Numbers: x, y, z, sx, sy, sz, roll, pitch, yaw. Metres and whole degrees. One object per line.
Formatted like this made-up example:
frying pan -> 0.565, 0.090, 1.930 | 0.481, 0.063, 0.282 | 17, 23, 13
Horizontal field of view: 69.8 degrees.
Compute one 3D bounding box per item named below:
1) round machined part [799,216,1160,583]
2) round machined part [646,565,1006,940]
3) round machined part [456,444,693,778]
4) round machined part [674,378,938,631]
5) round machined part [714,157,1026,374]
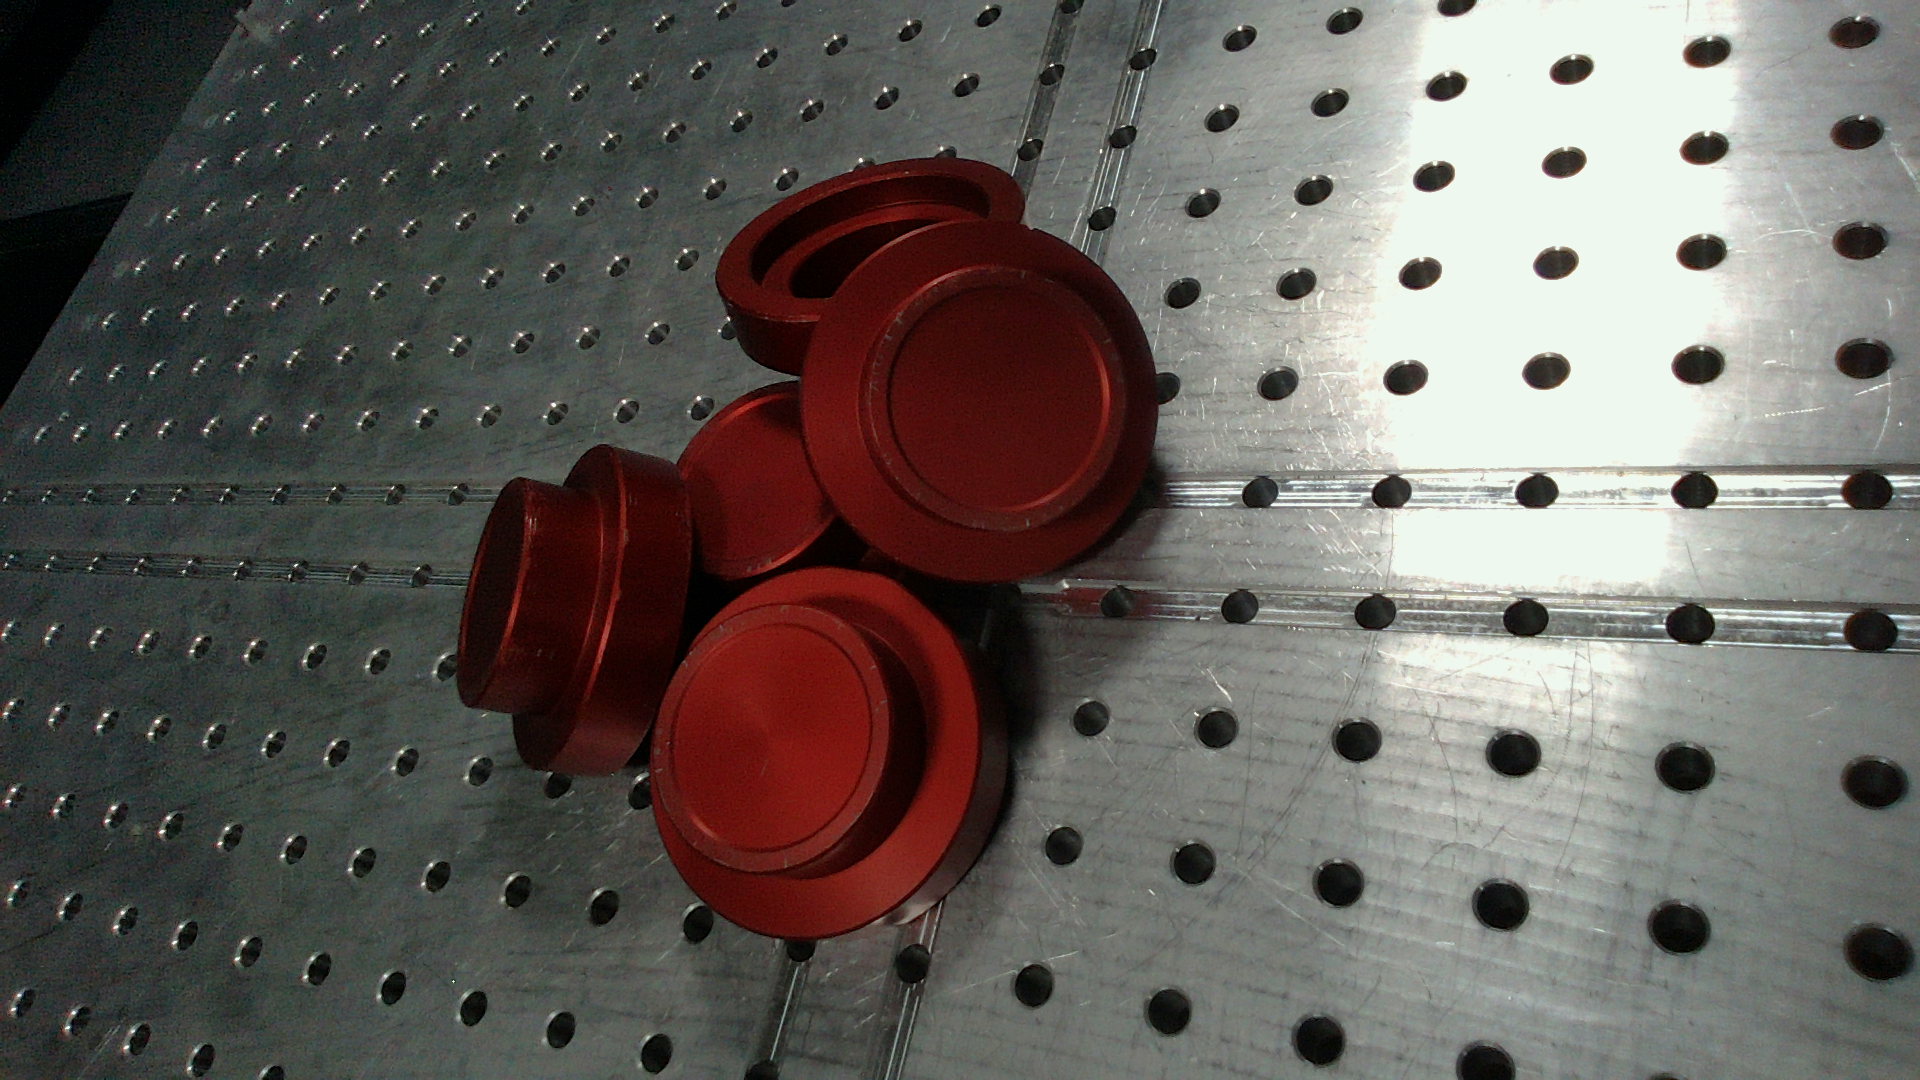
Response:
round machined part -> 0.007, -0.037, 0.367 | 0.098, 0.098, 0.042 | -47, 10, -5
round machined part -> -0.041, 0.053, 0.359 | 0.098, 0.042, 0.098 | -7, 71, 20
round machined part -> -0.118, 0.019, 0.408 | 0.098, 0.042, 0.098 | -31, 52, 51
round machined part -> -0.052, -0.010, 0.419 | 0.098, 0.042, 0.098 | -13, 56, 21
round machined part -> -0.024, -0.079, 0.433 | 0.098, 0.042, 0.098 | -11, 38, 9
